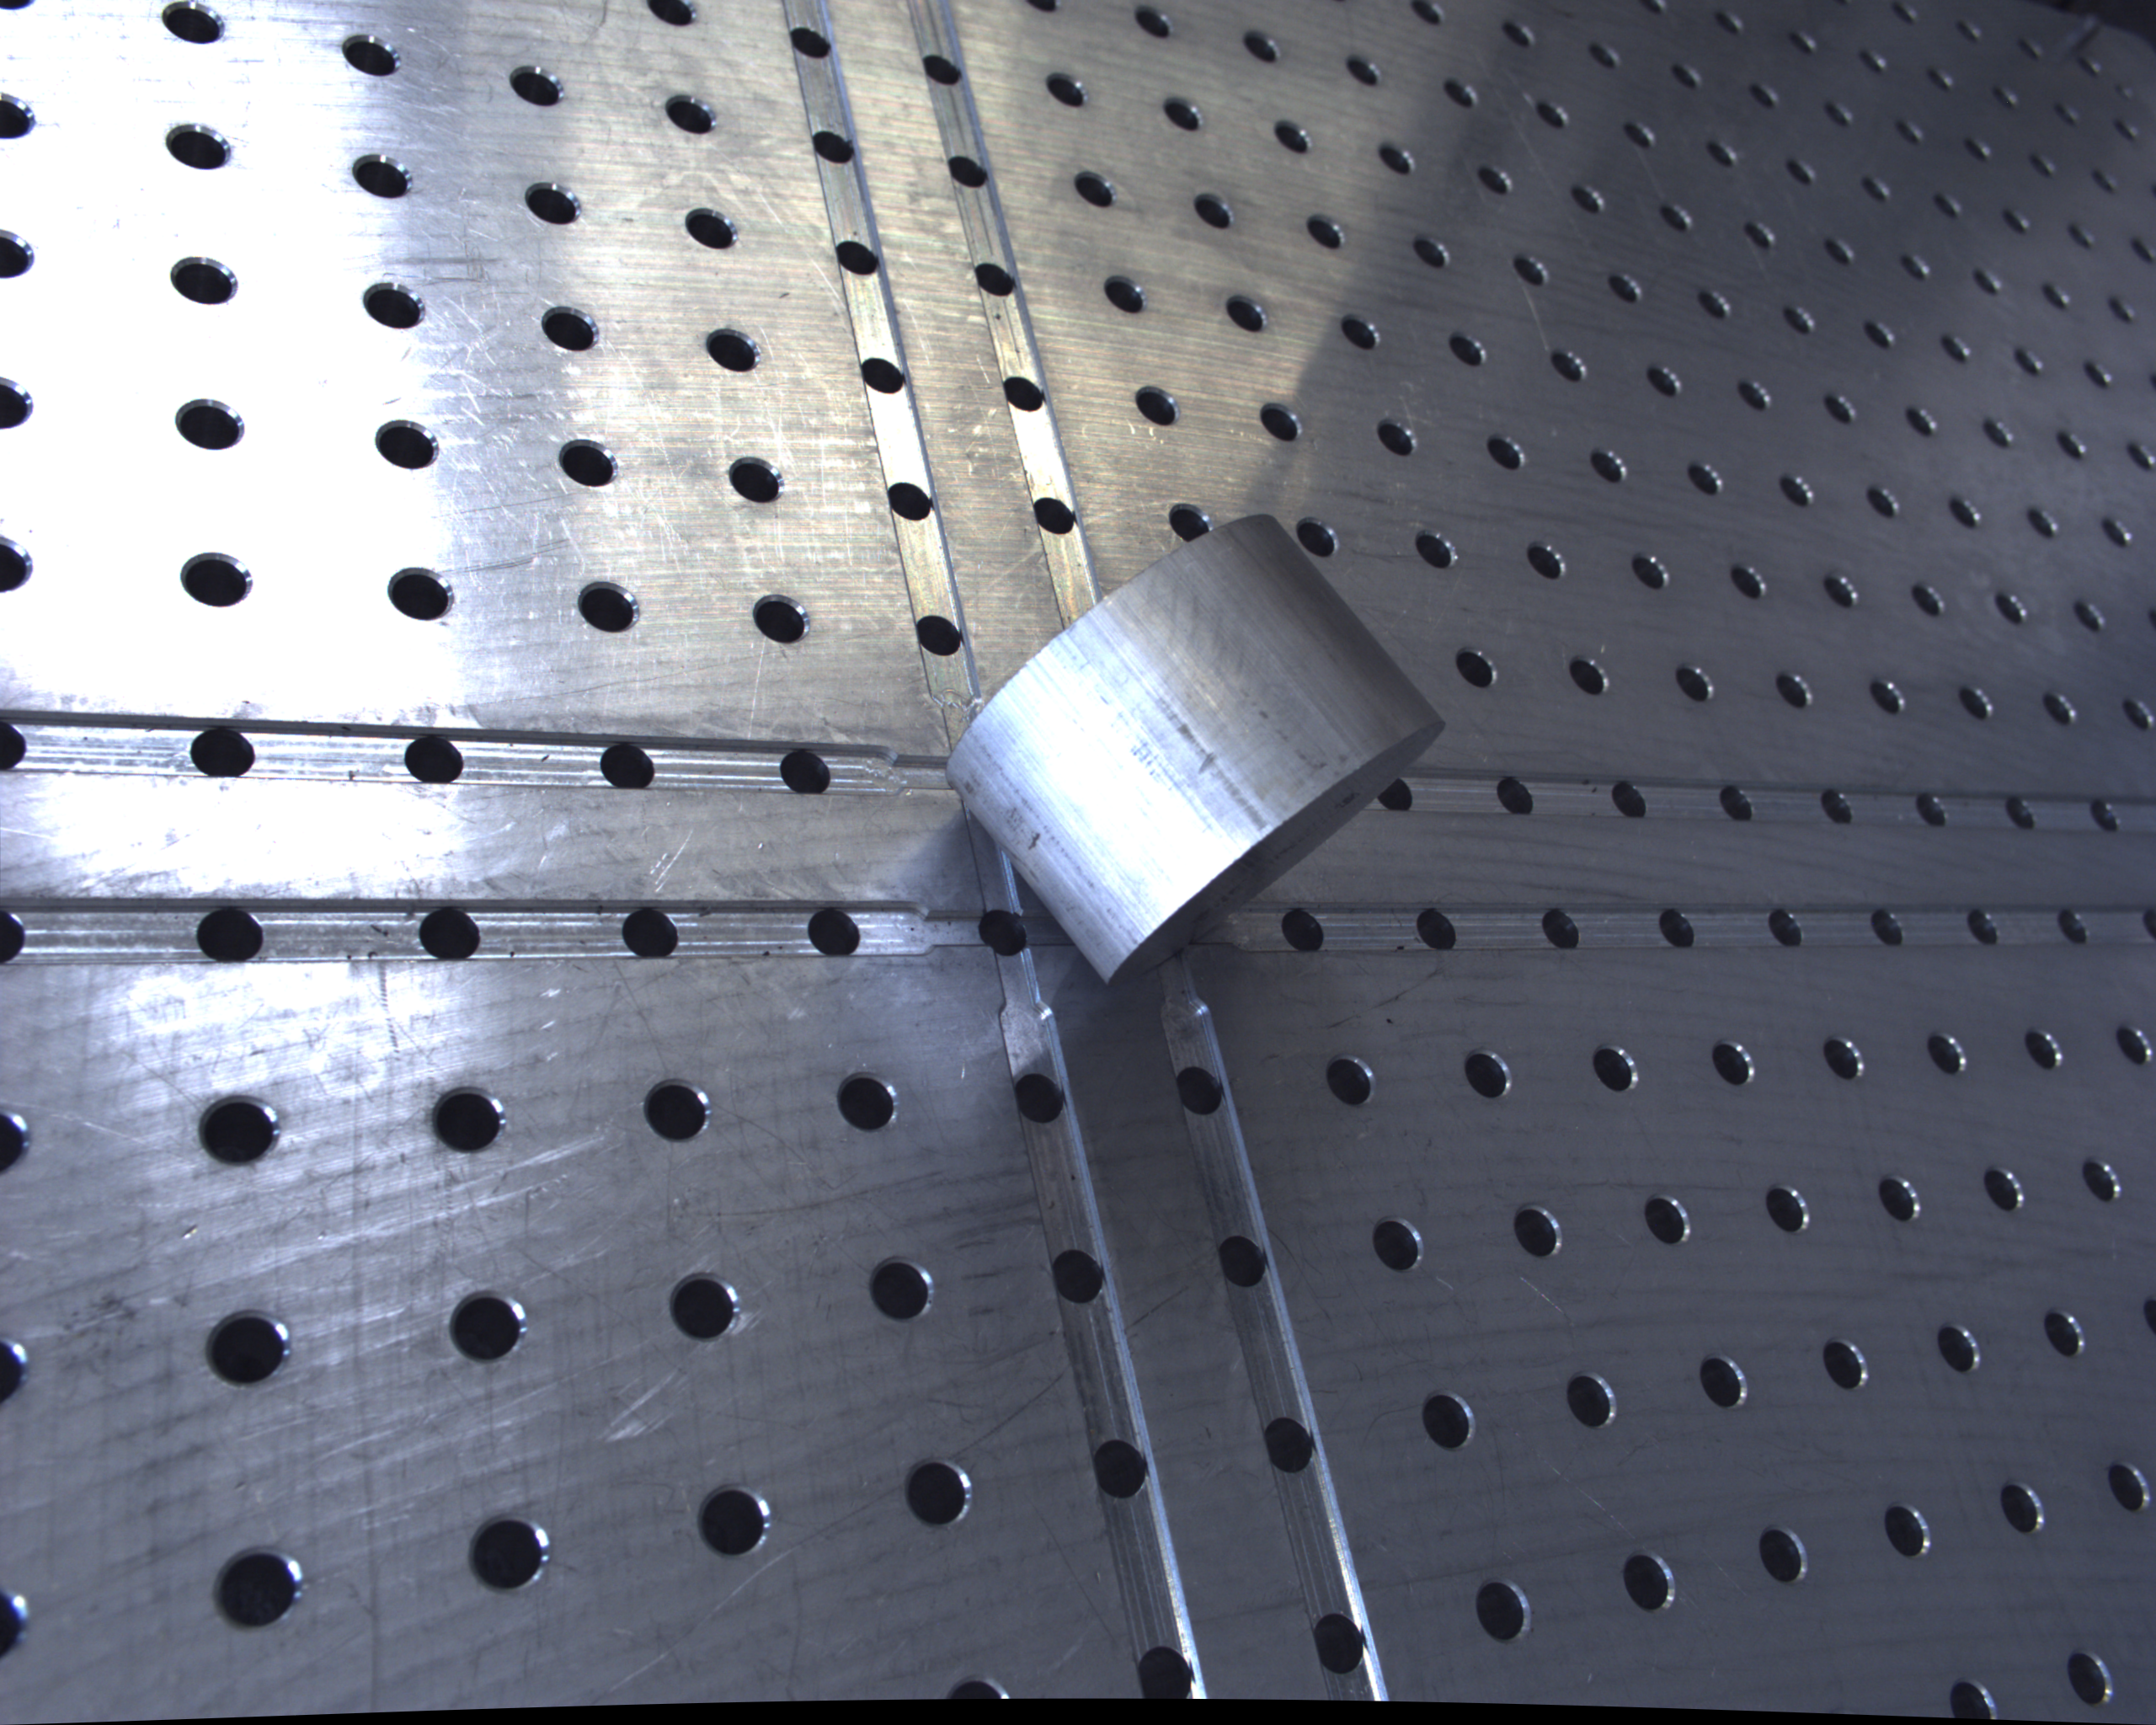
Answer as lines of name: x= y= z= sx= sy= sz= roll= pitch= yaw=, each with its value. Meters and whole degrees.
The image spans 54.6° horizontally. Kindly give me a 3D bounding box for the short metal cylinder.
short metal cylinder: x=0.022 y=-0.021 z=0.396 sx=0.081 sy=0.080 sz=0.050 roll=-32 pitch=79 yaw=-38
